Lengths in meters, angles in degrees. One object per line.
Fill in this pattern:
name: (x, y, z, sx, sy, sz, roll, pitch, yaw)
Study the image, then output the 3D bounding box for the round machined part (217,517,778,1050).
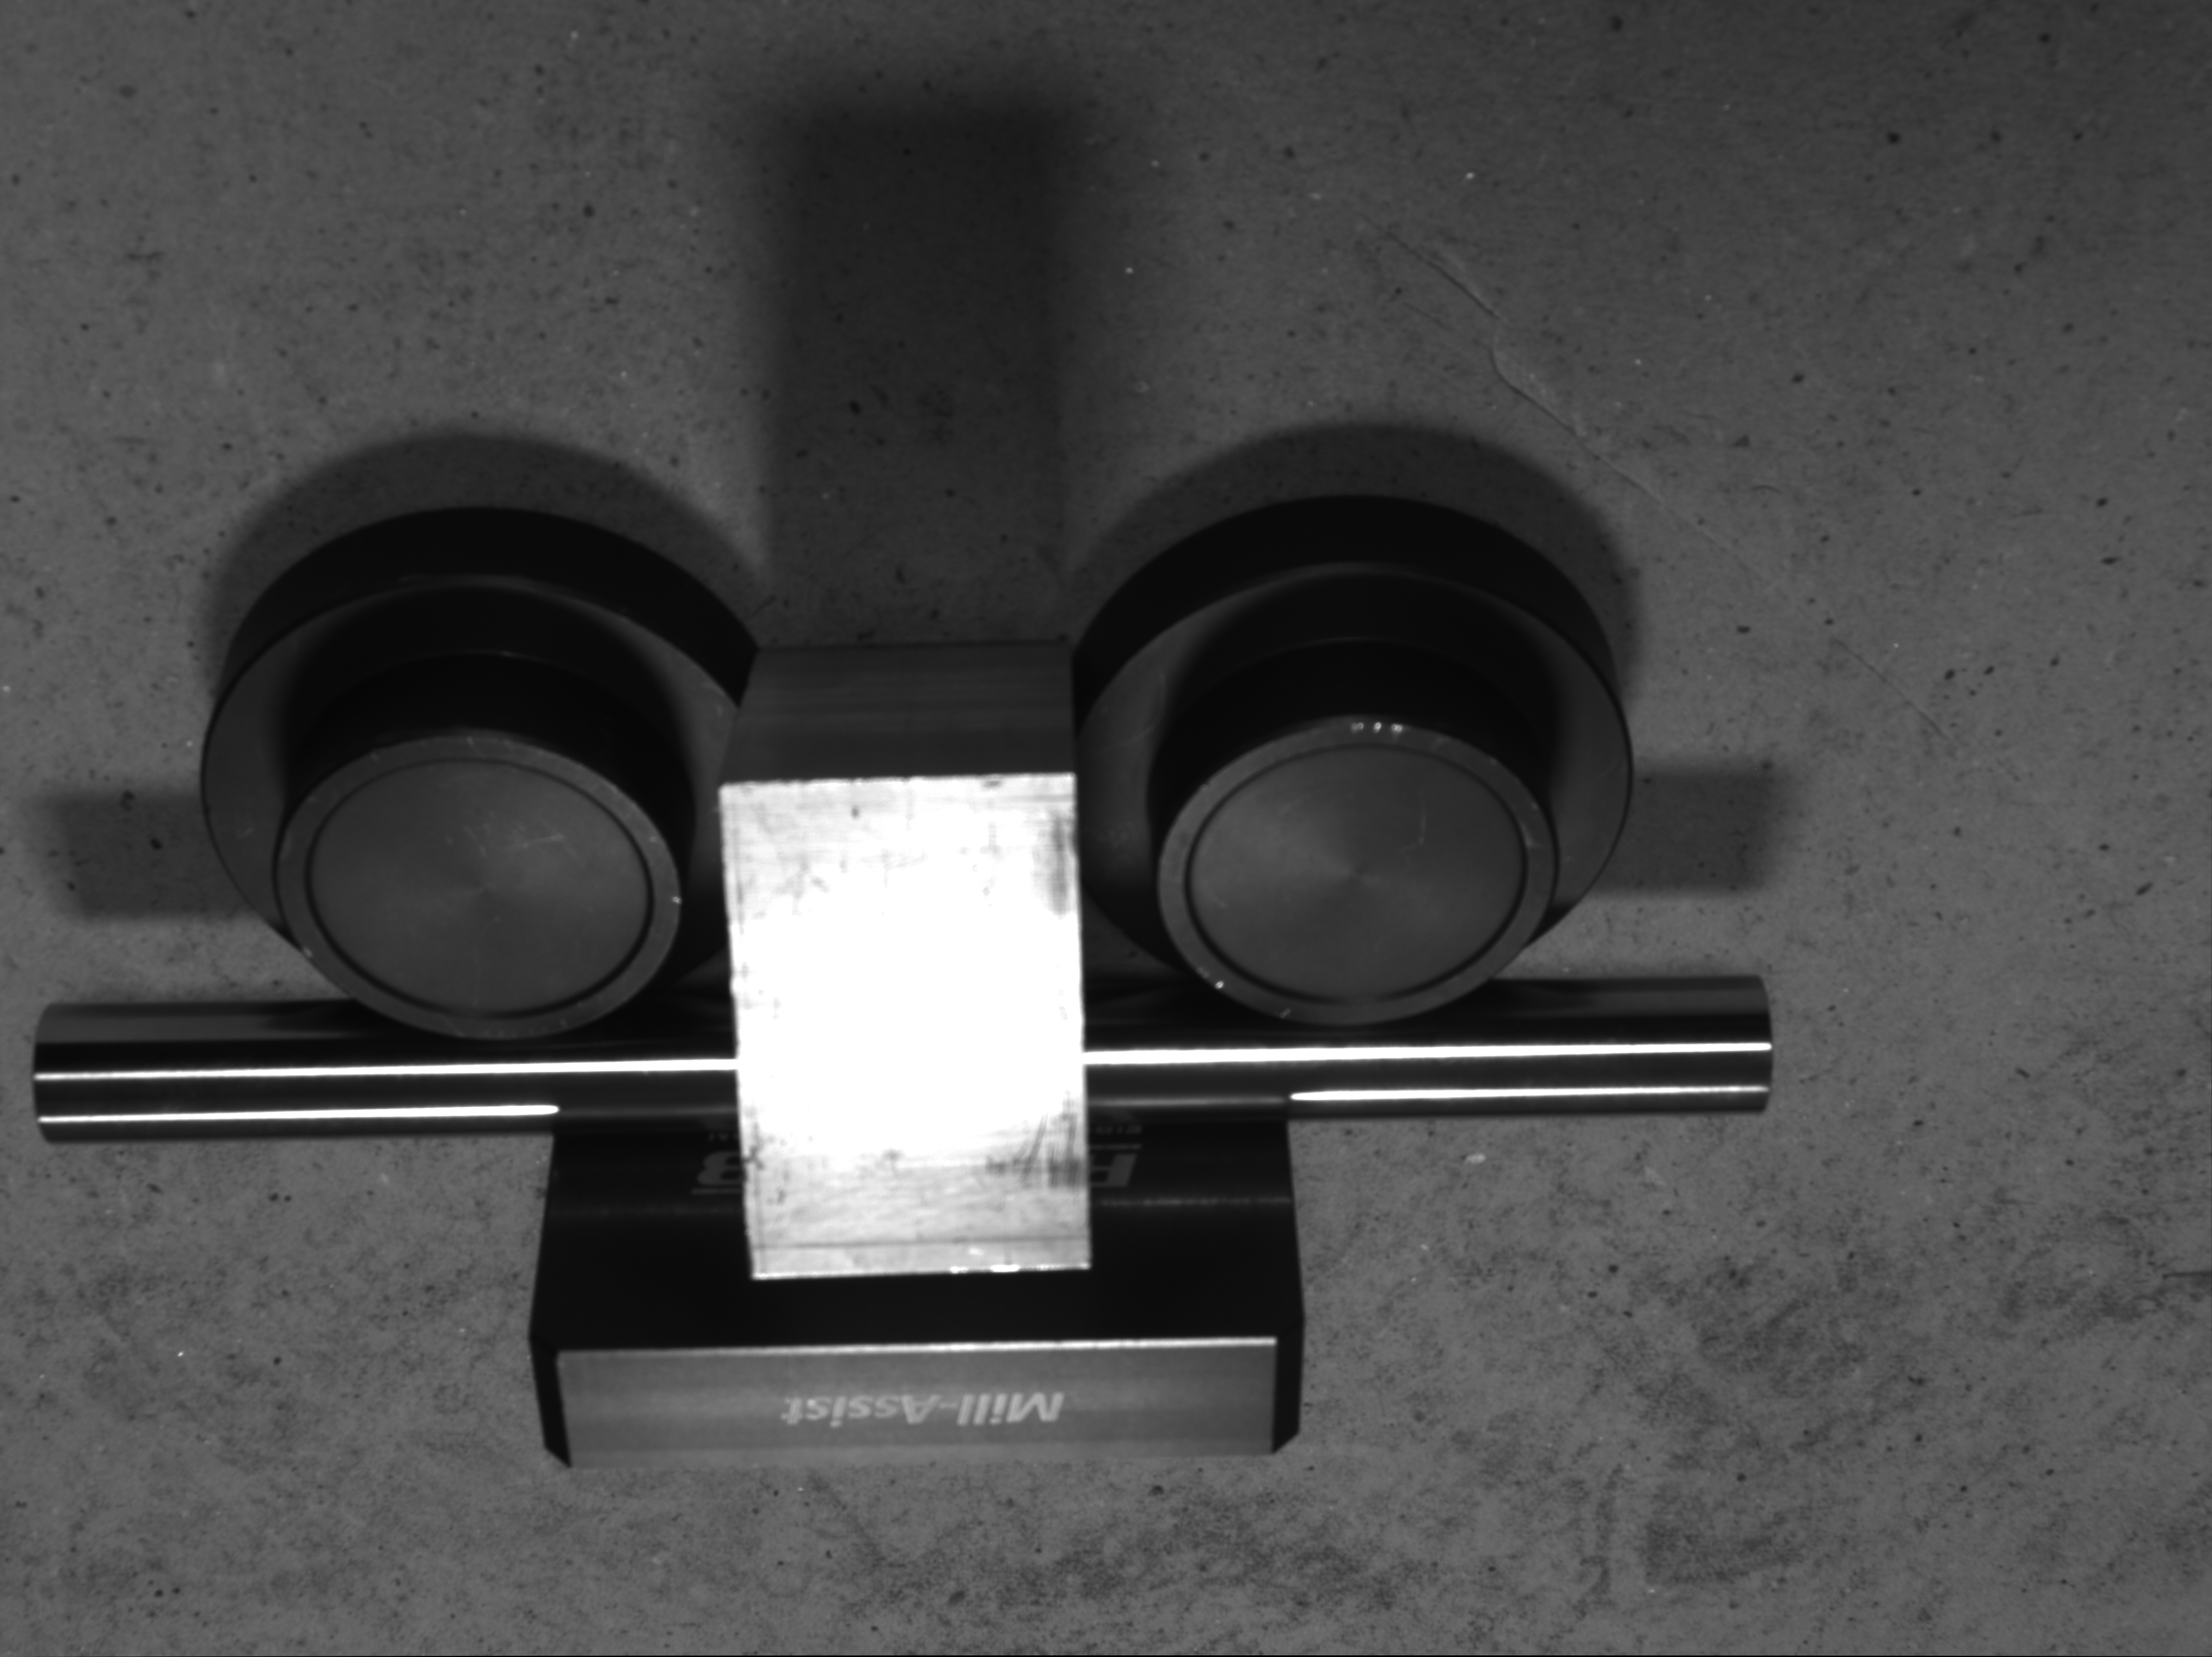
round machined part: (-0.101, -0.001, 0.621, 0.098, 0.042, 0.098, -1, 130, -1)

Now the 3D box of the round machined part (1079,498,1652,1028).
round machined part: (0.044, -0.005, 0.624, 0.098, 0.042, 0.098, -1, 130, -1)

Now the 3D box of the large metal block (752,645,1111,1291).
large metal block: (-0.026, 0.020, 0.583, 0.050, 0.080, 0.080, -2, 106, -1)

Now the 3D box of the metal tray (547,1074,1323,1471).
metal tray: (-0.029, 0.069, 0.653, 0.130, 0.090, 0.030, -1, 130, -1)

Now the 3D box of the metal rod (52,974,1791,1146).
metal rod: (-0.031, 0.041, 0.645, 0.300, 0.025, 0.025, -1, 130, -1)
